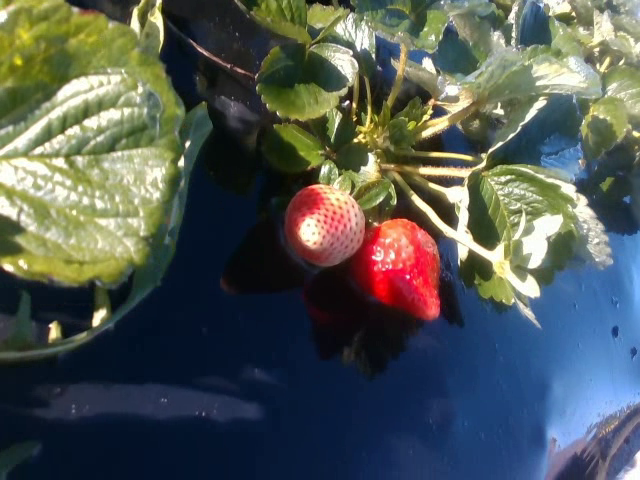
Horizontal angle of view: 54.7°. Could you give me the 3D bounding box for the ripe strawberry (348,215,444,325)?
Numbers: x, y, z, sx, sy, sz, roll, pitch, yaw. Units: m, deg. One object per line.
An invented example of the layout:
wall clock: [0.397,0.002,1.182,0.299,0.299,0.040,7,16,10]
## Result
ripe strawberry: [0.037,0.014,0.237,0.040,0.038,0.056,-12,27,-17]
